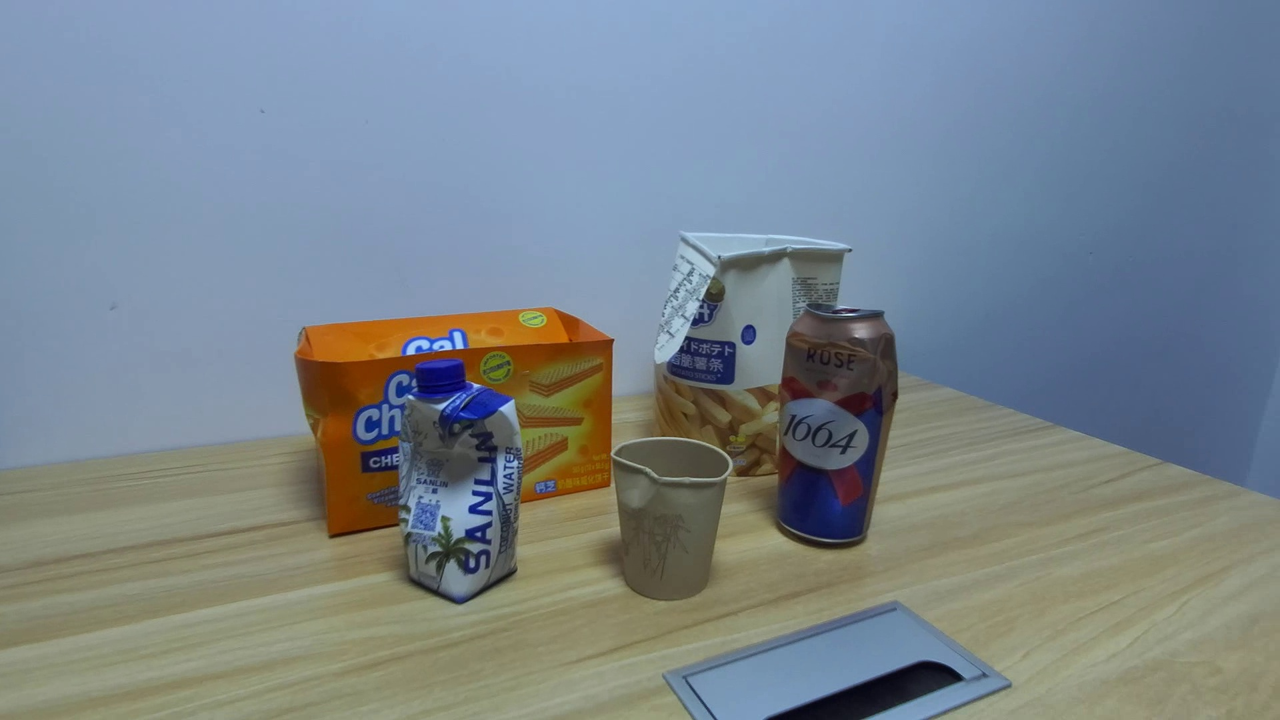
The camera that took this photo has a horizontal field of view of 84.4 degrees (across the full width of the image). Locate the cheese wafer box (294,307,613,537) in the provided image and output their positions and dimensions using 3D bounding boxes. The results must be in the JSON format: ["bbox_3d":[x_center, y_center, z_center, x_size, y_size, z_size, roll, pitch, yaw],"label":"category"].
[{"bbox_3d":[-0.151,0.040,0.581,0.231,0.132,0.151,-5,17,-26],"label":"cheese wafer box"}]

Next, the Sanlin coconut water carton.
[{"bbox_3d":[-0.110,0.074,0.426,0.068,0.144,0.057,19,28,30],"label":"Sanlin coconut water carton"}]

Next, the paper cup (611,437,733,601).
[{"bbox_3d":[0.018,0.099,0.444,0.073,0.081,0.068,0,14,-9],"label":"paper cup"}]

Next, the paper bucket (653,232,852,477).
[{"bbox_3d":[0.083,-0.014,0.659,0.170,0.202,0.162,-6,15,-34],"label":"paper bucket"}]

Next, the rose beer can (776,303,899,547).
[{"bbox_3d":[0.137,0.045,0.500,0.065,0.167,0.075,-8,15,-37],"label":"rose beer can"}]
